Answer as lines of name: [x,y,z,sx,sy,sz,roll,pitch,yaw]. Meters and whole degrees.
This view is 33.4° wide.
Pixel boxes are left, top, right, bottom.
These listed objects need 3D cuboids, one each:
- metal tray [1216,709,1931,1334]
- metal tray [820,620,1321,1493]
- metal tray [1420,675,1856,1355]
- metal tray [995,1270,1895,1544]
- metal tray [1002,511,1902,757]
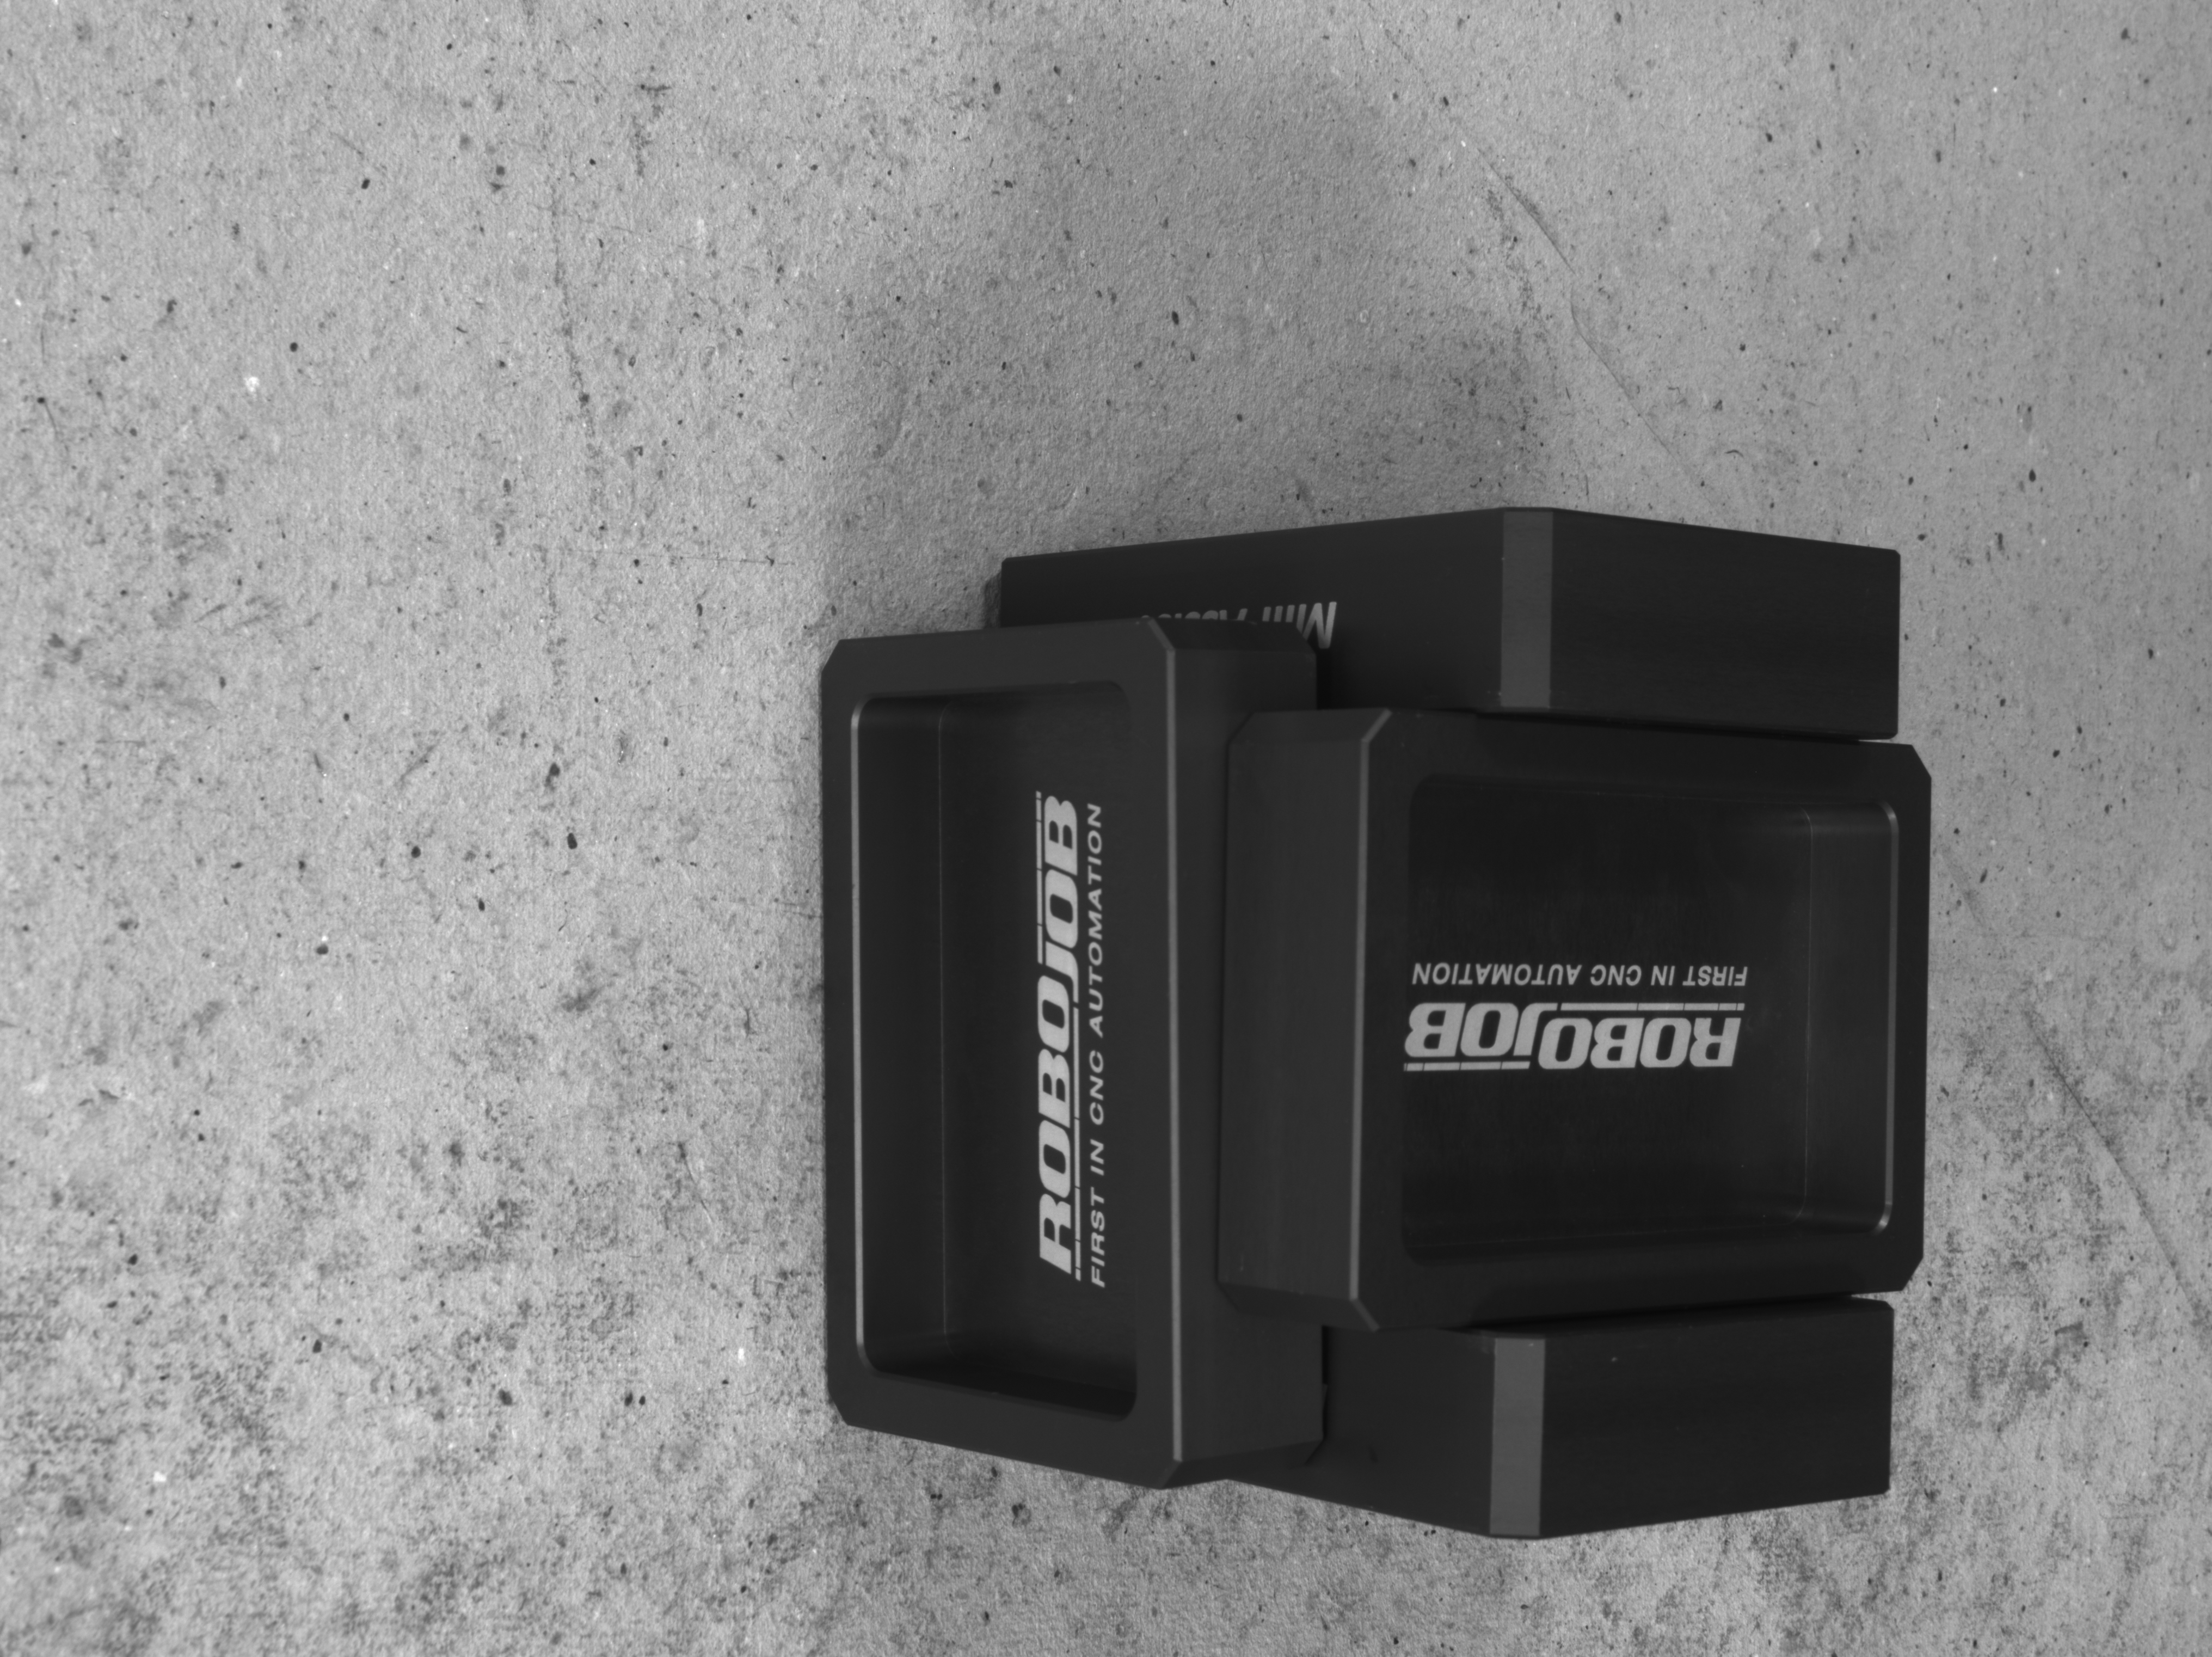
metal tray: [0.077,0.030,0.580,0.130,0.030,0.090,2,89,-40]
metal tray: [-0.007,0.034,0.588,0.030,0.090,0.130,-1,90,-40]
metal tray: [0.092,0.029,0.670,0.030,0.090,0.130,2,87,-39]
metal tray: [0.053,0.090,0.612,0.090,0.130,0.030,2,89,-40]
metal tray: [0.055,-0.030,0.613,0.090,0.130,0.030,2,88,-40]
